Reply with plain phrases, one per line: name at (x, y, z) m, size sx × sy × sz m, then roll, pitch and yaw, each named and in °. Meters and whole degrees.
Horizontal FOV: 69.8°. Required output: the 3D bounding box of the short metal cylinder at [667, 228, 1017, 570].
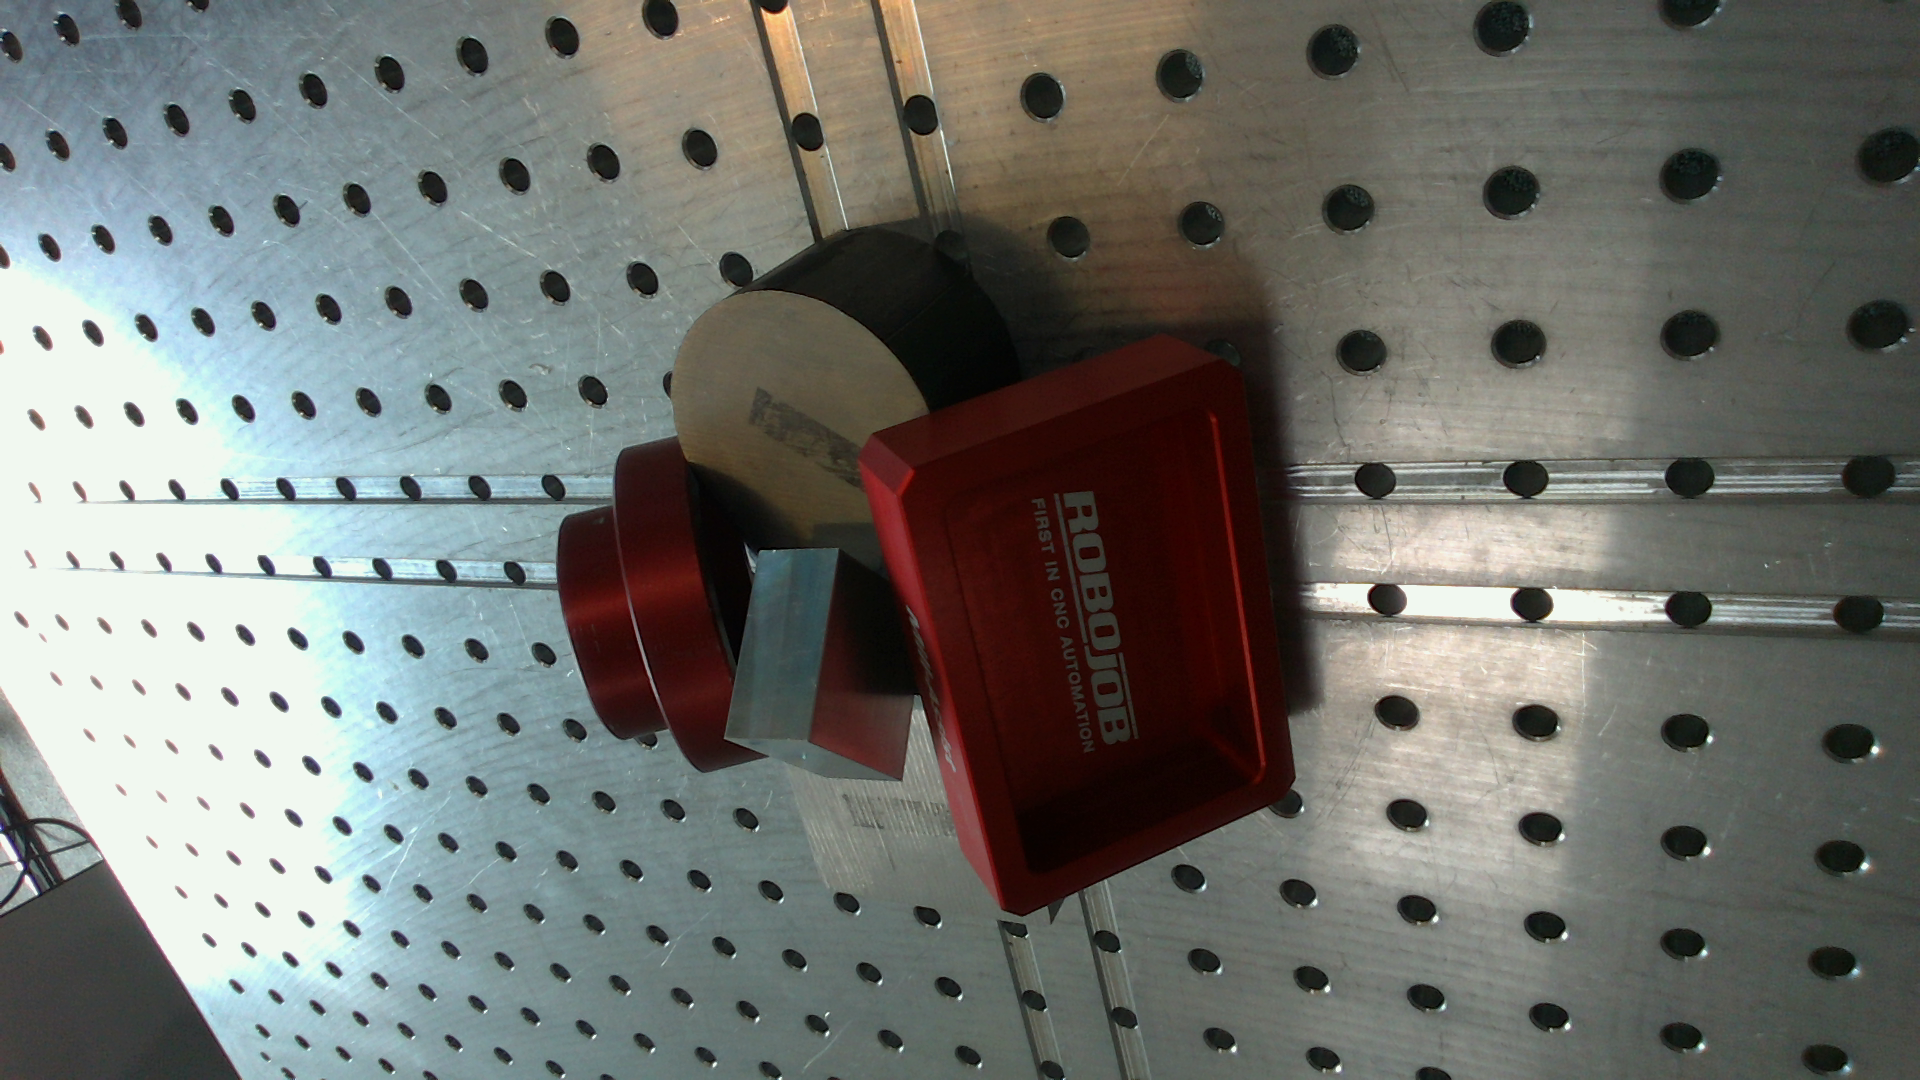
short metal cylinder at (-0.031, -0.038, 0.372) m, size 0.080 × 0.050 × 0.080 m, roll 13°, pitch 124°, yaw 21°

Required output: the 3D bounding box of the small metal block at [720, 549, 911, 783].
small metal block at (-0.035, 0.034, 0.365) m, size 0.025 × 0.050 × 0.050 m, roll -2°, pitch 160°, yaw 26°

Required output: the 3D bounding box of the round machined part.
round machined part at (-0.087, 0.021, 0.404) m, size 0.042 × 0.098 × 0.098 m, roll -14°, pitch 116°, yaw -2°

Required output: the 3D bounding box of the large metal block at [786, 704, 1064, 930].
large metal block at (-0.006, 0.066, 0.423) m, size 0.080 × 0.050 × 0.080 m, roll 2°, pitch 119°, yaw 27°

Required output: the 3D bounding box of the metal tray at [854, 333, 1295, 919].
metal tray at (0.033, 0.023, 0.352) m, size 0.030 × 0.090 × 0.130 m, roll -137°, pitch 30°, yaw -60°
